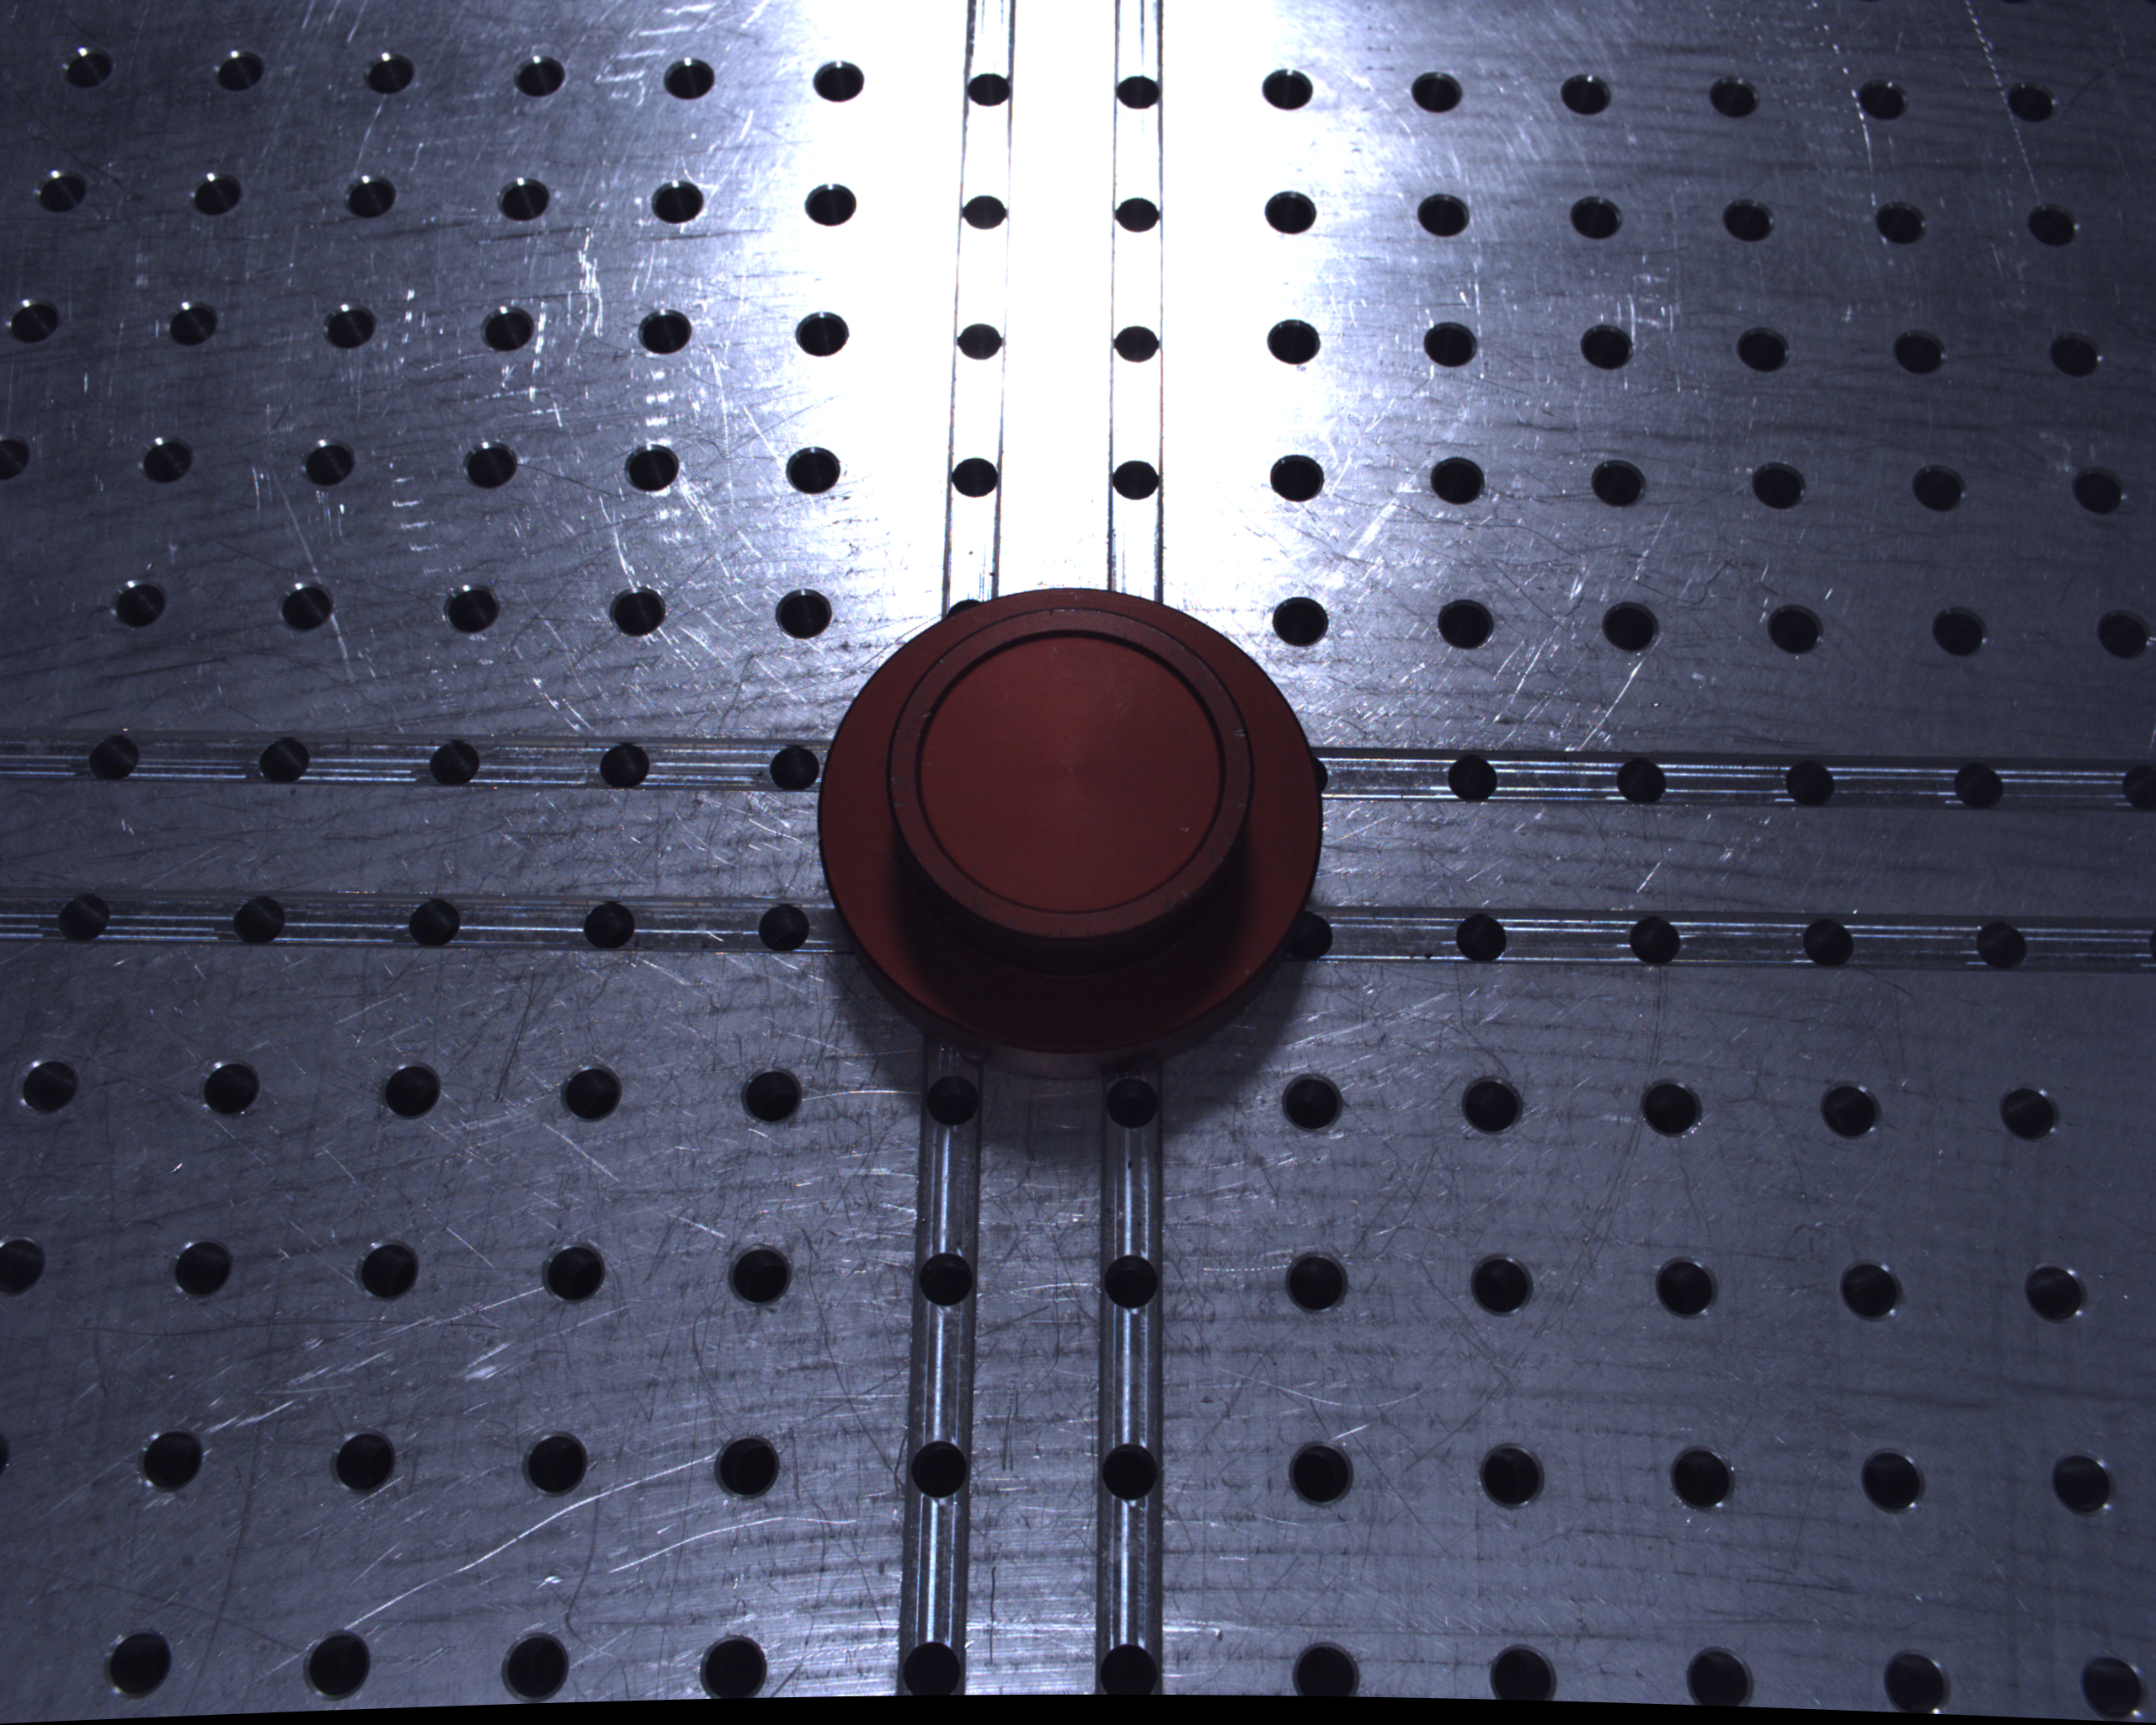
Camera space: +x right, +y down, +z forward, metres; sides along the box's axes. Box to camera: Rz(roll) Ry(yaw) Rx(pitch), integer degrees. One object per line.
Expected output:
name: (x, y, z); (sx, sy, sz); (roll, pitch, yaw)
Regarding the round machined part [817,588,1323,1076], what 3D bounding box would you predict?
round machined part: (-0.001, -0.010, 0.406); (0.099, 0.042, 0.098); (0, 70, -1)
